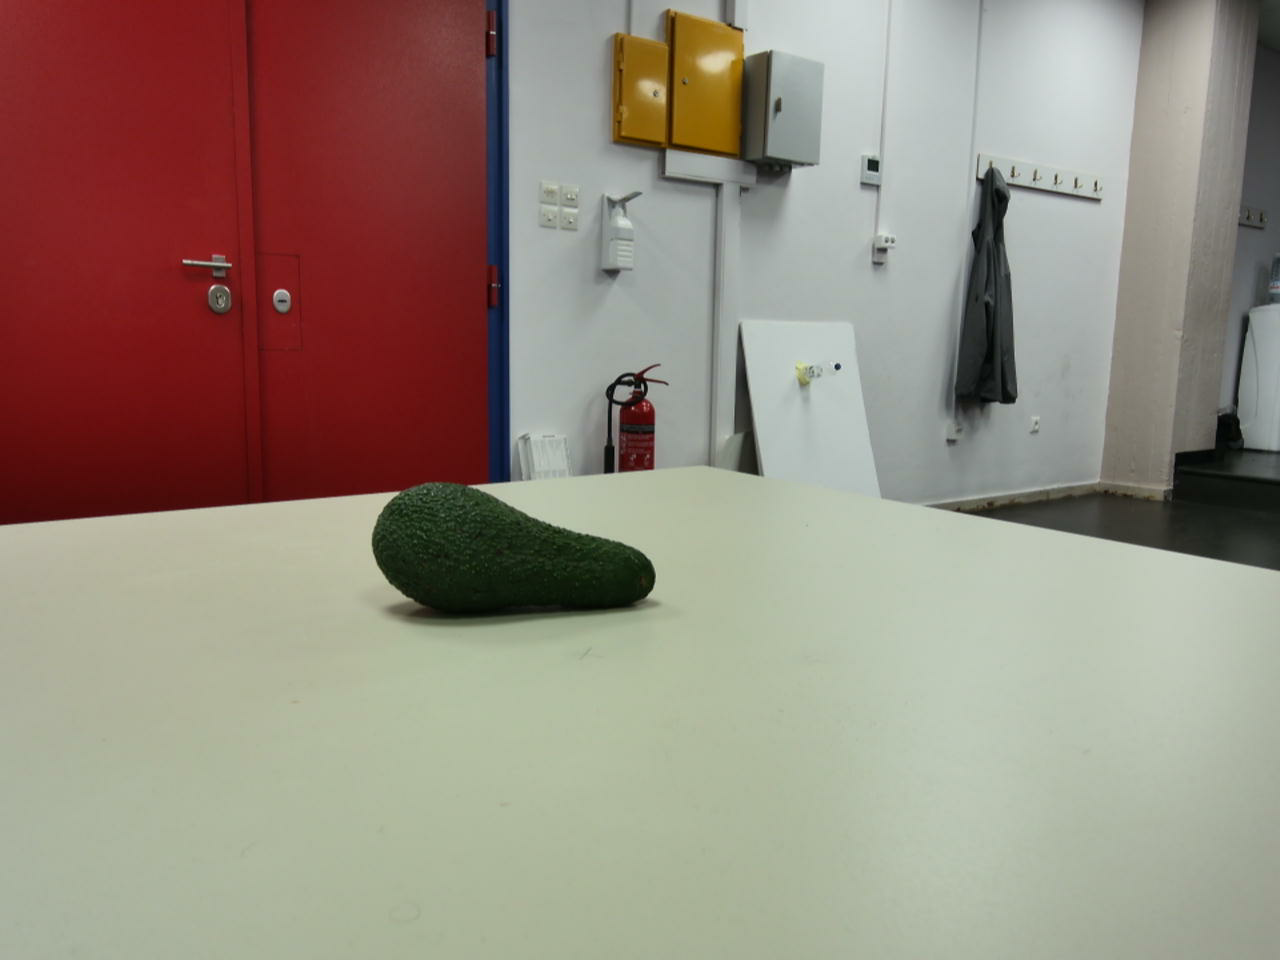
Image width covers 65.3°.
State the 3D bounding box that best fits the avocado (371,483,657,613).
[{"bbox_3d":[-0.064,0.033,0.510,0.141,0.067,0.063,-3,7,-22],"label":"avocado"}]
